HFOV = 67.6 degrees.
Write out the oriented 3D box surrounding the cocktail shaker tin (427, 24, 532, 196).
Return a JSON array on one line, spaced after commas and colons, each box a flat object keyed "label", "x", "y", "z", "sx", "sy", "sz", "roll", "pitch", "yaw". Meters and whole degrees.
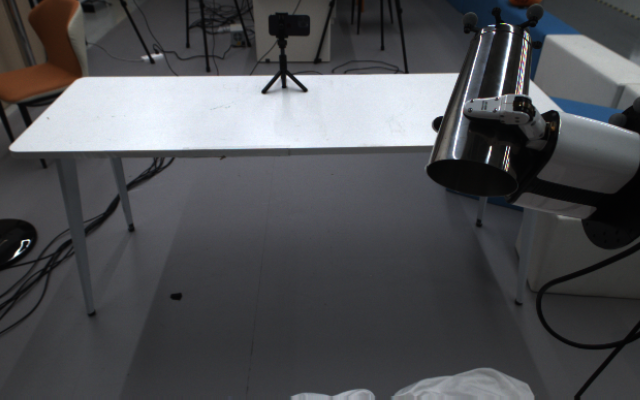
[{"label": "cocktail shaker tin", "x": 0.181, "y": -0.099, "z": 0.523, "sx": 0.093, "sy": 0.093, "sz": 0.170, "roll": 13, "pitch": 74, "yaw": 15}]
